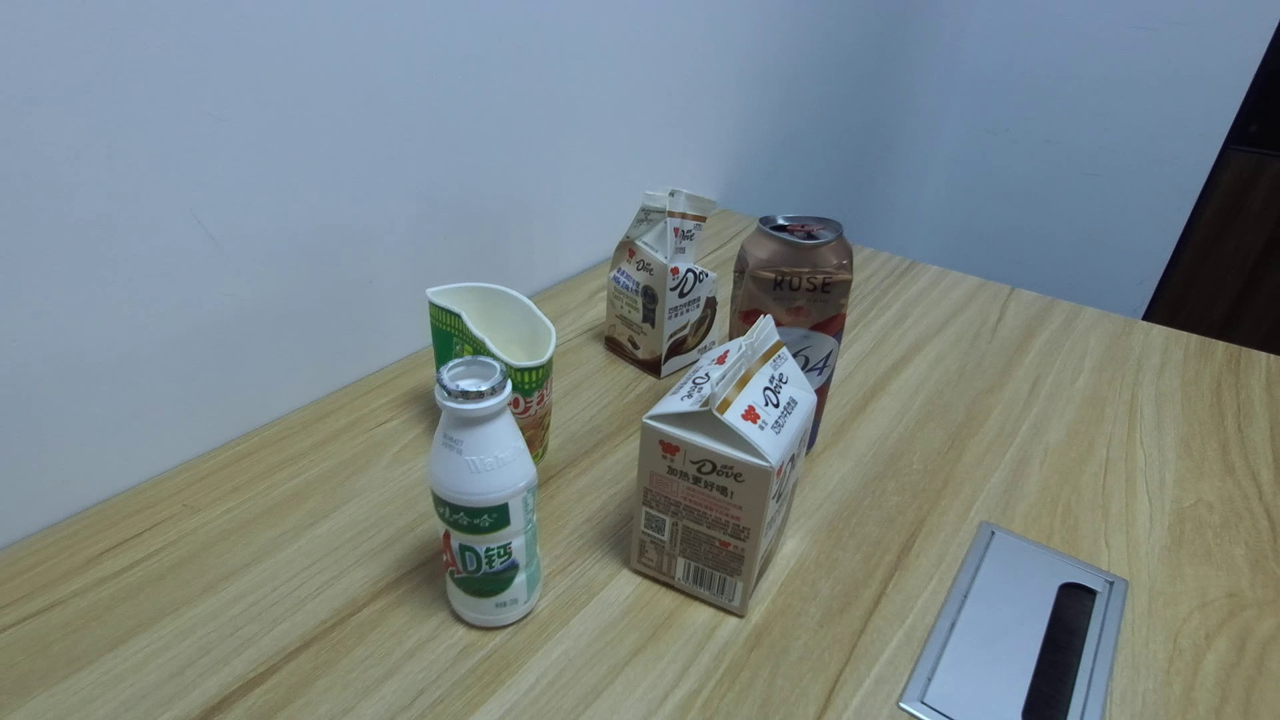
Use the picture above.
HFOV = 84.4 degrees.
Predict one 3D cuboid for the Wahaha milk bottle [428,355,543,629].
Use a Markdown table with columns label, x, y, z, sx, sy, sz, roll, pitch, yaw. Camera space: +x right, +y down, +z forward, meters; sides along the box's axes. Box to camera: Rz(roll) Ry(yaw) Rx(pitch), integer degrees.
| label | x | y | z | sx | sy | sz | roll | pitch | yaw |
| --- | --- | --- | --- | --- | --- | --- | --- | --- | --- |
| Wahaha milk bottle | -0.076 | 0.067 | 0.353 | 0.056 | 0.148 | 0.056 | 1 | 31 | 0 |

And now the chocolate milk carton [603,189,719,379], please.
| label | x | y | z | sx | sy | sz | roll | pitch | yaw |
| --- | --- | --- | --- | --- | --- | --- | --- | --- | --- |
| chocolate milk carton | 0.022 | -0.073 | 0.579 | 0.076 | 0.155 | 0.073 | -26 | 44 | -38 |

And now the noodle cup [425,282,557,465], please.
| label | x | y | z | sx | sy | sz | roll | pitch | yaw |
| --- | --- | --- | --- | --- | --- | --- | --- | --- | --- |
| noodle cup | -0.096 | 0.017 | 0.463 | 0.070 | 0.111 | 0.114 | -8 | 32 | -16 |

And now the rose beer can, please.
| label | x | y | z | sx | sy | sz | roll | pitch | yaw |
| --- | --- | --- | --- | --- | --- | --- | --- | --- | --- |
| rose beer can | 0.098 | -0.014 | 0.478 | 0.075 | 0.167 | 0.065 | 8 | 30 | 14 |

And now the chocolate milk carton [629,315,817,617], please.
| label | x | y | z | sx | sy | sz | roll | pitch | yaw |
| --- | --- | --- | --- | --- | --- | --- | --- | --- | --- |
| chocolate milk carton | 0.047 | 0.052 | 0.382 | 0.074 | 0.148 | 0.075 | 19 | 34 | 22 |
